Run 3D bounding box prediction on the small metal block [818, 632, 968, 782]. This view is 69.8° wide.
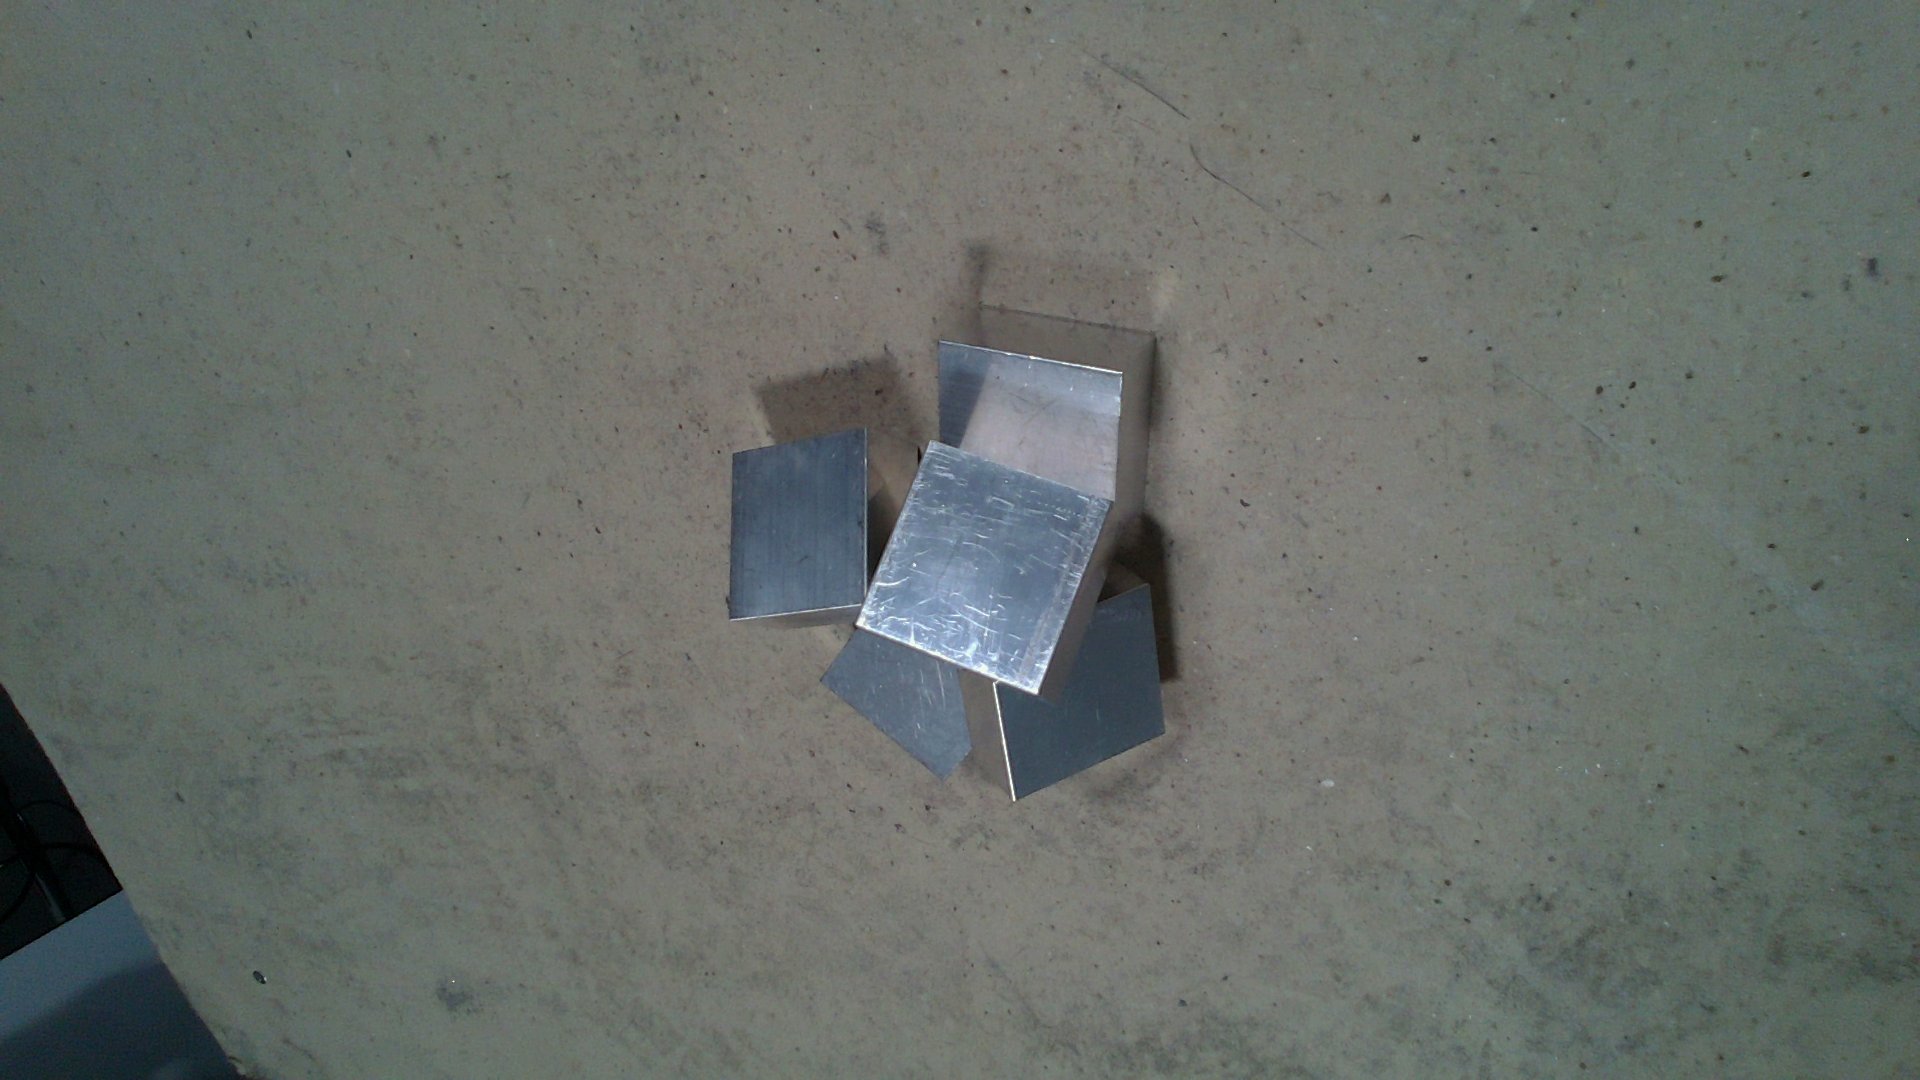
[{"bbox_3d":[-0.008,0.038,0.421,0.050,0.025,0.050,39,129,2],"label":"small metal block"}]

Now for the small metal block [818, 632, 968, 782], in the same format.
[{"bbox_3d":[-0.008,0.038,0.421,0.050,0.025,0.050,38,129,2],"label":"small metal block"}]

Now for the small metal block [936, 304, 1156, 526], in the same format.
[{"bbox_3d":[0.022,-0.031,0.362,0.050,0.025,0.050,13,124,21],"label":"small metal block"}]

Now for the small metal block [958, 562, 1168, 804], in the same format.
[{"bbox_3d":[0.028,0.037,0.382,0.025,0.050,0.050,38,143,56],"label":"small metal block"}]

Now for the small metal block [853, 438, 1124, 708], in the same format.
[{"bbox_3d":[0.008,0.008,0.344,0.050,0.025,0.050,19,83,17],"label":"small metal block"}]

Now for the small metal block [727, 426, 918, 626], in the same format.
[{"bbox_3d":[-0.040,-0.002,0.397,0.050,0.025,0.050,-8,77,32],"label":"small metal block"}]
